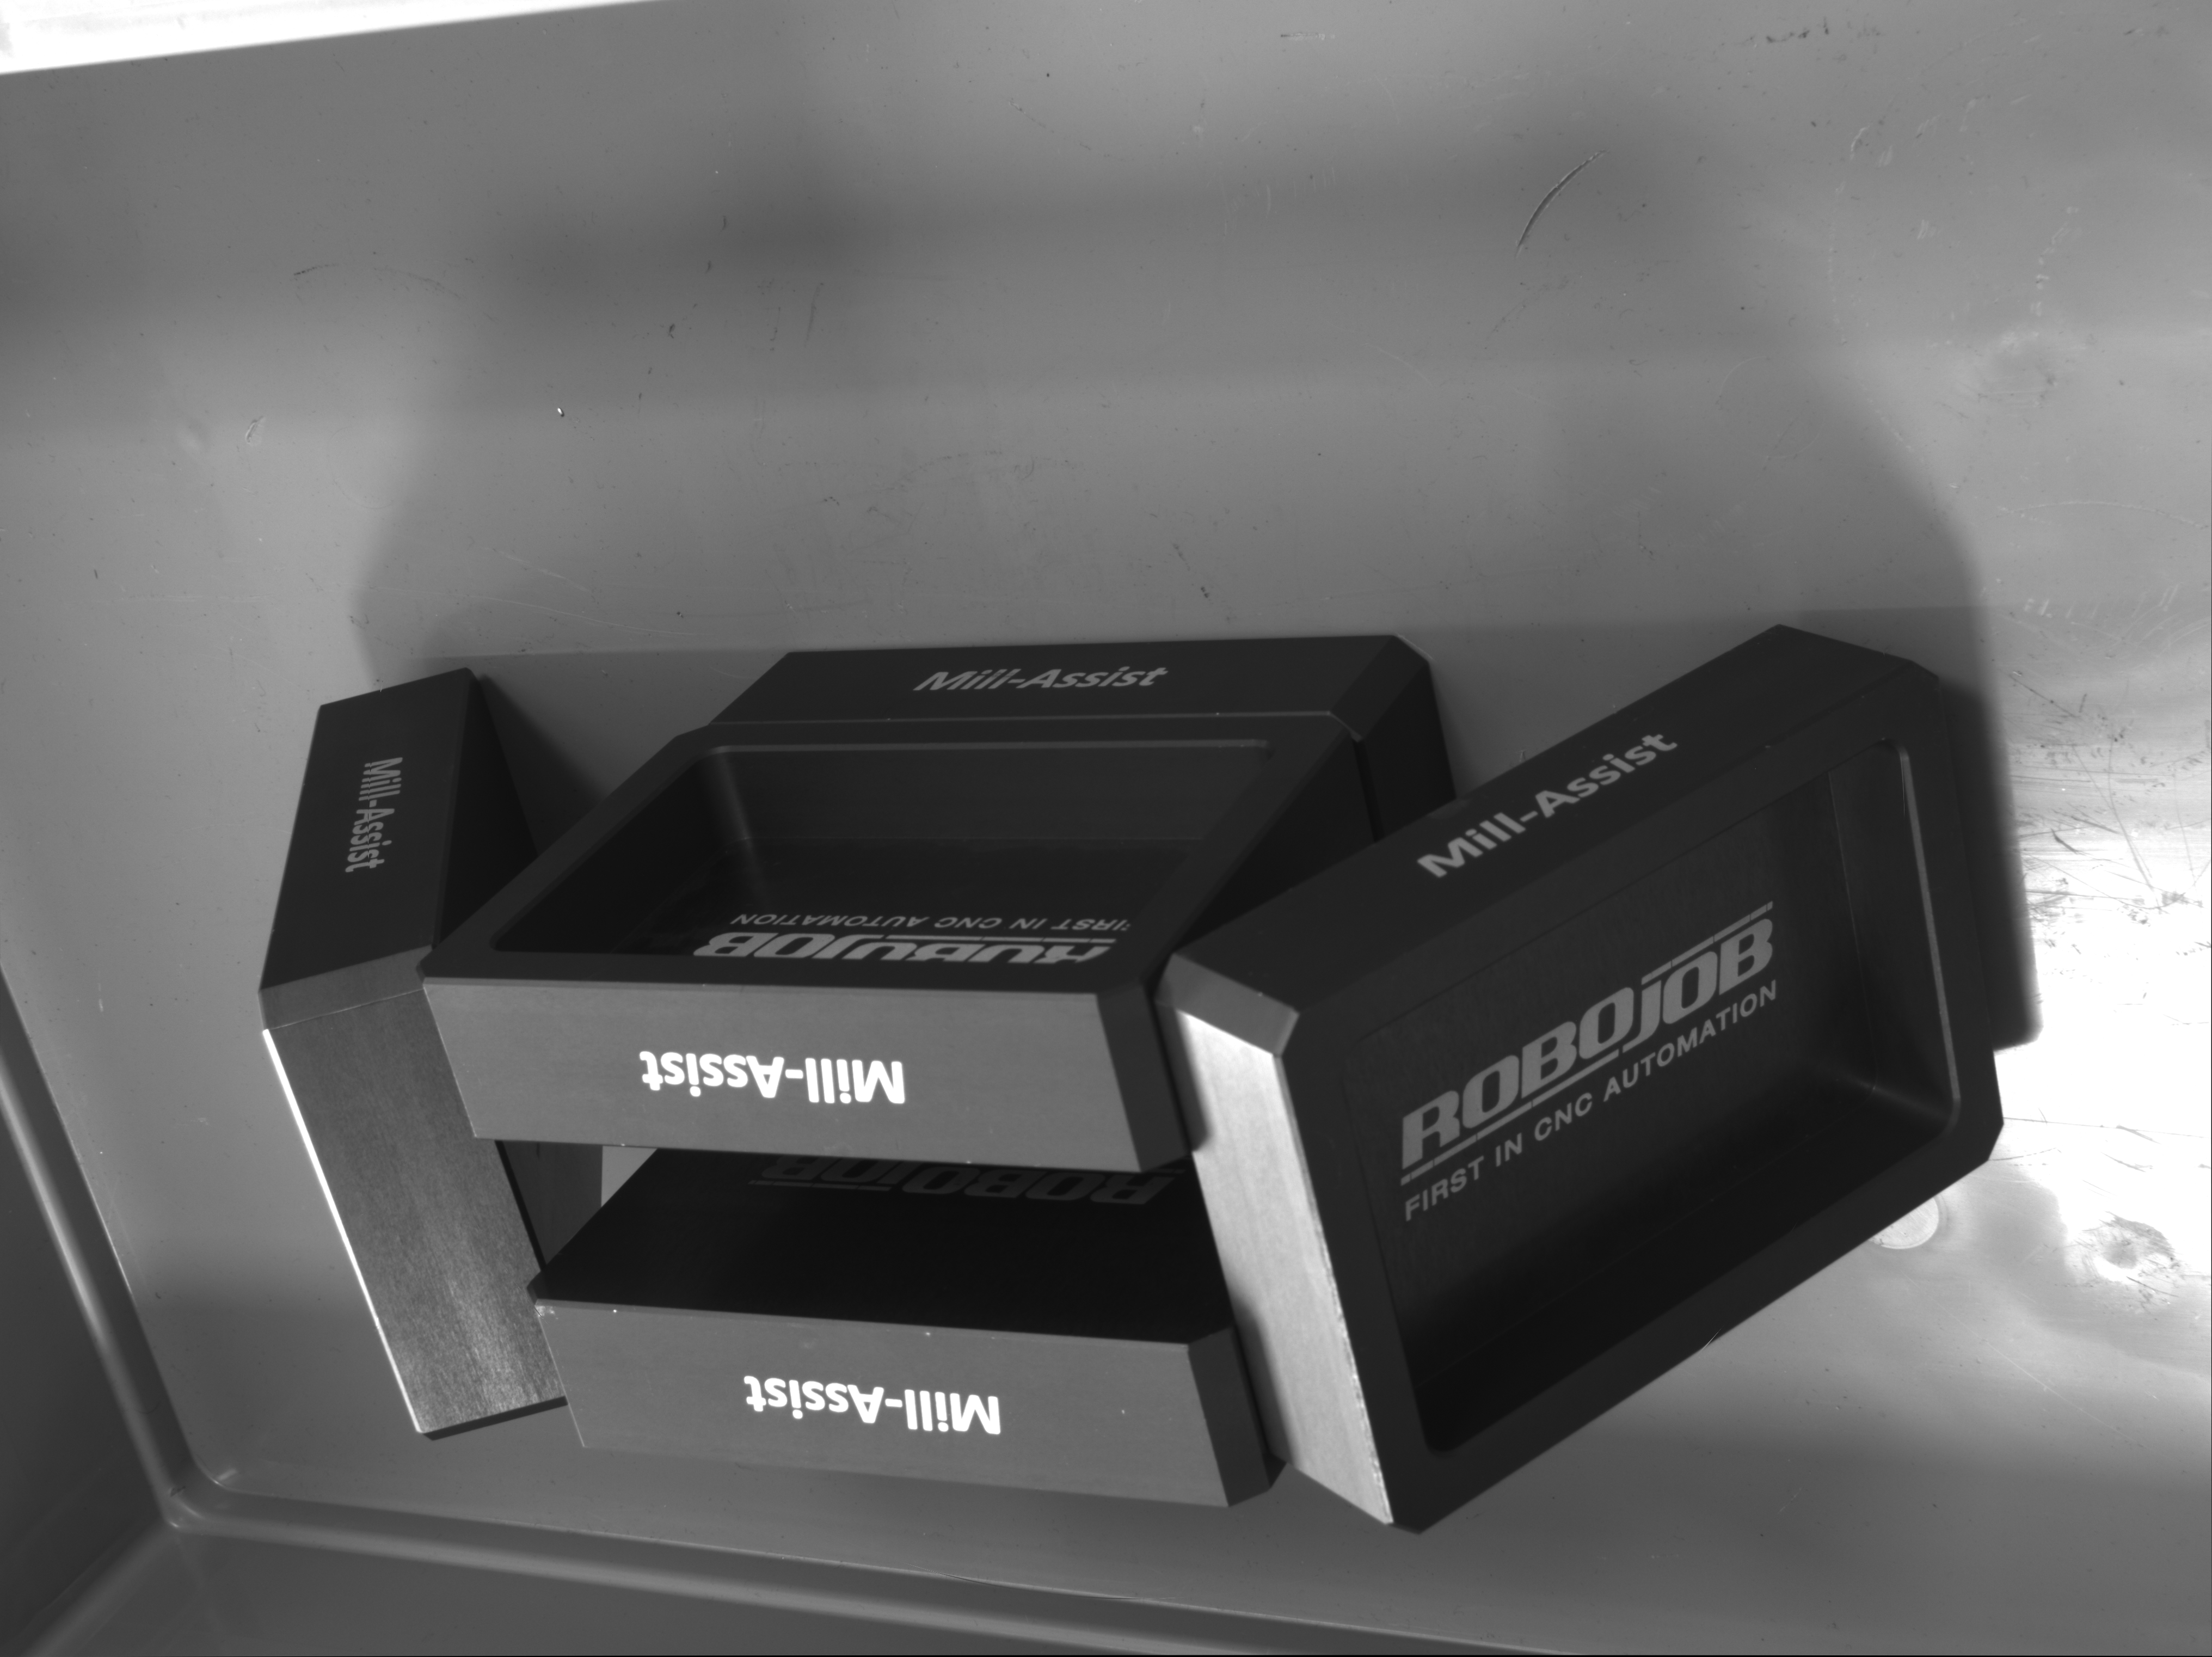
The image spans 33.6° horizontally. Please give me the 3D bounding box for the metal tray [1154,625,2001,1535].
[{"bbox_3d":[0.076,0.036,0.556,0.030,0.130,0.090,23,134,52],"label":"metal tray"}]

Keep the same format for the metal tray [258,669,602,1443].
[{"bbox_3d":[-0.118,0.037,0.662,0.030,0.130,0.090,-15,115,0],"label":"metal tray"}]

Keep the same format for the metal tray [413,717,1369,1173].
[{"bbox_3d":[-0.032,0.016,0.586,0.130,0.090,0.030,0,118,28],"label":"metal tray"}]

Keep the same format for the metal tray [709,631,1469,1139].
[{"bbox_3d":[-0.001,0.014,0.647,0.130,0.030,0.090,-1,118,28],"label":"metal tray"}]

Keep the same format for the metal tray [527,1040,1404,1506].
[{"bbox_3d":[-0.019,0.069,0.612,0.130,0.090,0.030,0,118,28],"label":"metal tray"}]
